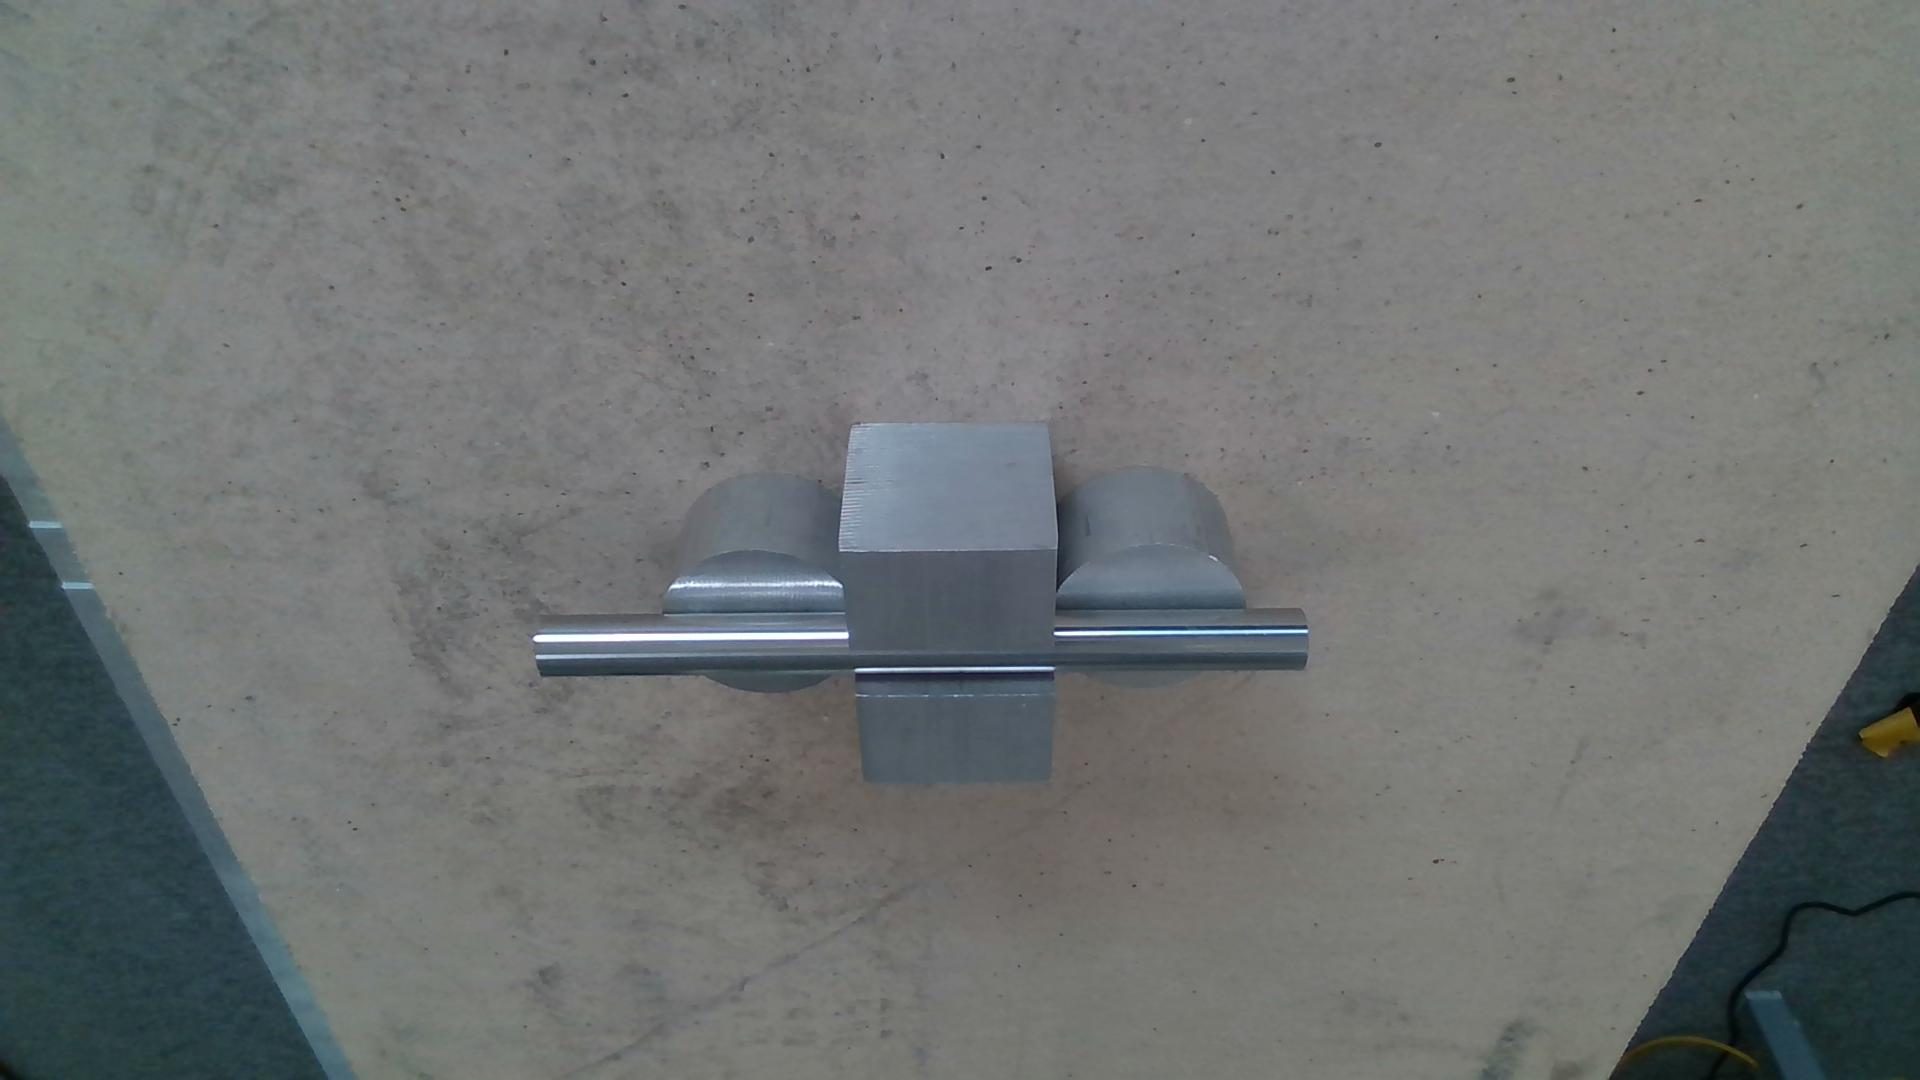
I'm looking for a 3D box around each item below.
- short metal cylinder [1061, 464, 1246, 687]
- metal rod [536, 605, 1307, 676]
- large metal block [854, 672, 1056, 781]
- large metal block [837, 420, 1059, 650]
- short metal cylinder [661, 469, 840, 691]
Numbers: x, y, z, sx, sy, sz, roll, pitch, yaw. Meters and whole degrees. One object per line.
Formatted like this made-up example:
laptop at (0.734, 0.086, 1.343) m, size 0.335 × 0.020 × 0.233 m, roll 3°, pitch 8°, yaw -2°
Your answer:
short metal cylinder at (0.076, 0.015, 0.576) m, size 0.080 × 0.050 × 0.080 m, roll 0°, pitch 130°, yaw 0°
metal rod at (-0.015, 0.040, 0.548) m, size 0.300 × 0.025 × 0.025 m, roll -1°, pitch 130°, yaw 0°
large metal block at (-0.002, 0.056, 0.591) m, size 0.080 × 0.080 × 0.050 m, roll -1°, pitch 130°, yaw 0°
large metal block at (-0.004, -0.003, 0.541) m, size 0.080 × 0.080 × 0.050 m, roll -1°, pitch 130°, yaw 0°
short metal cylinder at (-0.081, 0.017, 0.579) m, size 0.080 × 0.050 × 0.080 m, roll 0°, pitch 130°, yaw 0°
